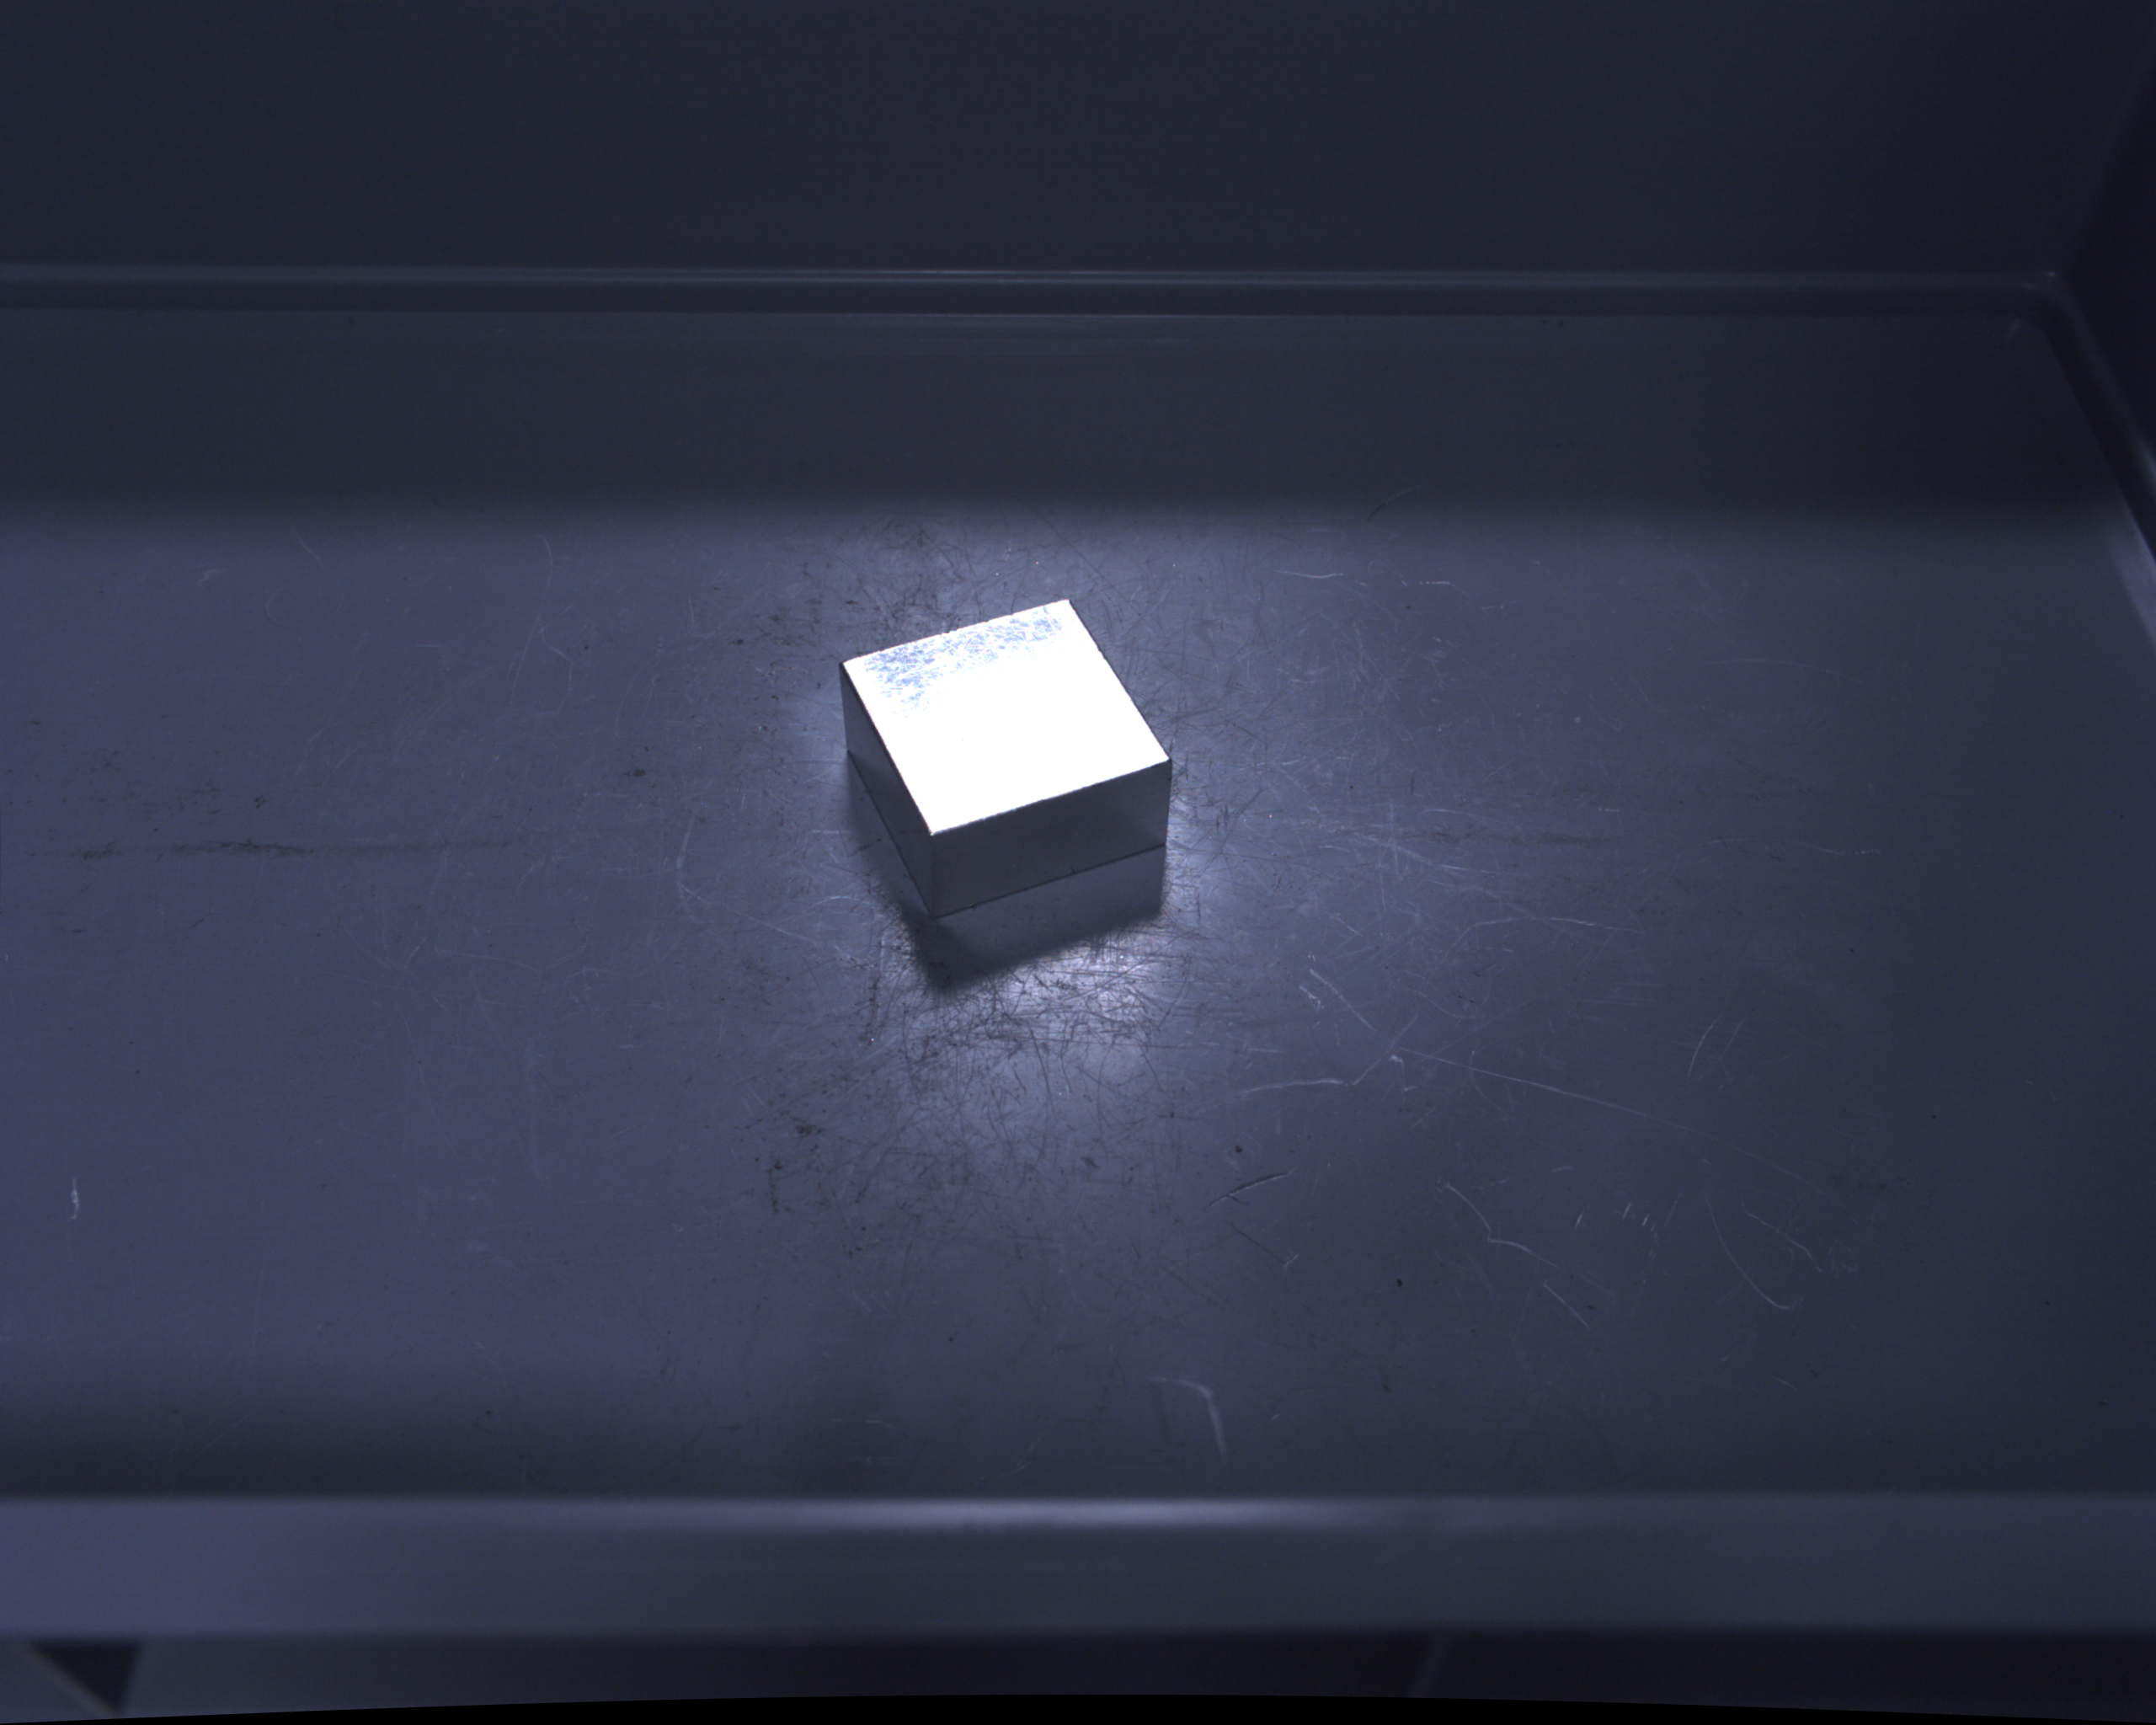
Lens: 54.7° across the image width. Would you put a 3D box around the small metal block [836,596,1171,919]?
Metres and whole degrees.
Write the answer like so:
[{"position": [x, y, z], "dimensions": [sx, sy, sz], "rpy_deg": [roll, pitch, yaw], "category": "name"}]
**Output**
[{"position": [-0.015, -0.022, 0.419], "dimensions": [0.050, 0.025, 0.050], "rpy_deg": [-18, 53, -15], "category": "small metal block"}]
